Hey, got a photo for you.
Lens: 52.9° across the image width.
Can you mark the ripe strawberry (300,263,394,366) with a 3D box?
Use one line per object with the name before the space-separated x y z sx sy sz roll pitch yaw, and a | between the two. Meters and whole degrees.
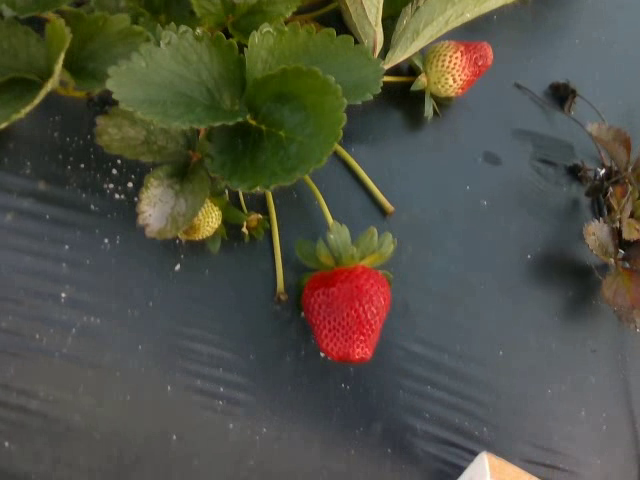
ripe strawberry | 0.012 0.036 0.285 0.045 0.042 0.055 -18 38 16
